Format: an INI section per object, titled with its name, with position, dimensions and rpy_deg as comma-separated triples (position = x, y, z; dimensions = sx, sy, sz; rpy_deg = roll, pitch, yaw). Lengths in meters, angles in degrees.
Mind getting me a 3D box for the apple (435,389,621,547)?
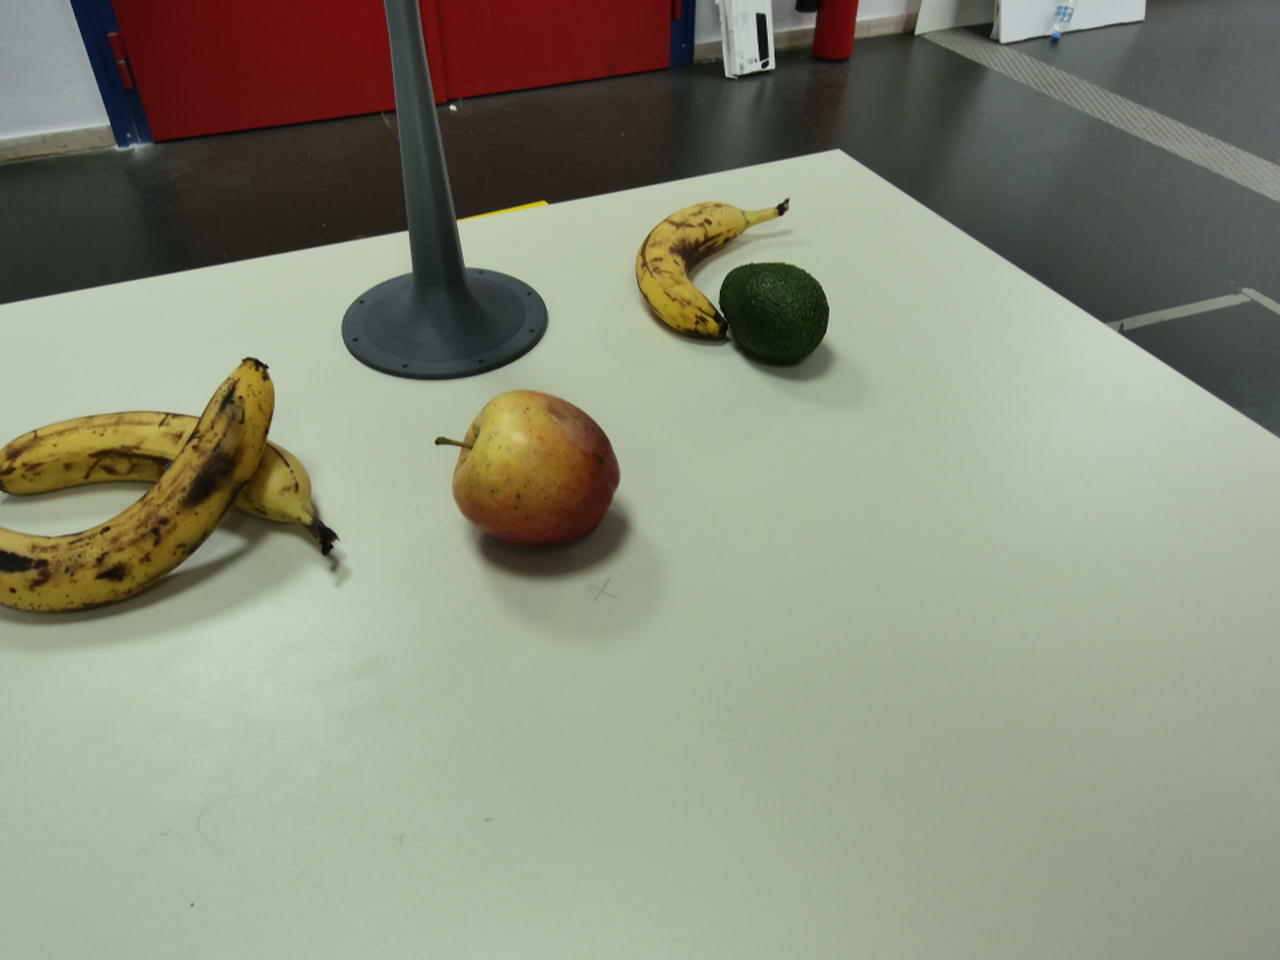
[apple]
position = -0.060, -0.006, 0.545
dimensions = 0.093, 0.084, 0.086
rpy_deg = 20, 43, 22
